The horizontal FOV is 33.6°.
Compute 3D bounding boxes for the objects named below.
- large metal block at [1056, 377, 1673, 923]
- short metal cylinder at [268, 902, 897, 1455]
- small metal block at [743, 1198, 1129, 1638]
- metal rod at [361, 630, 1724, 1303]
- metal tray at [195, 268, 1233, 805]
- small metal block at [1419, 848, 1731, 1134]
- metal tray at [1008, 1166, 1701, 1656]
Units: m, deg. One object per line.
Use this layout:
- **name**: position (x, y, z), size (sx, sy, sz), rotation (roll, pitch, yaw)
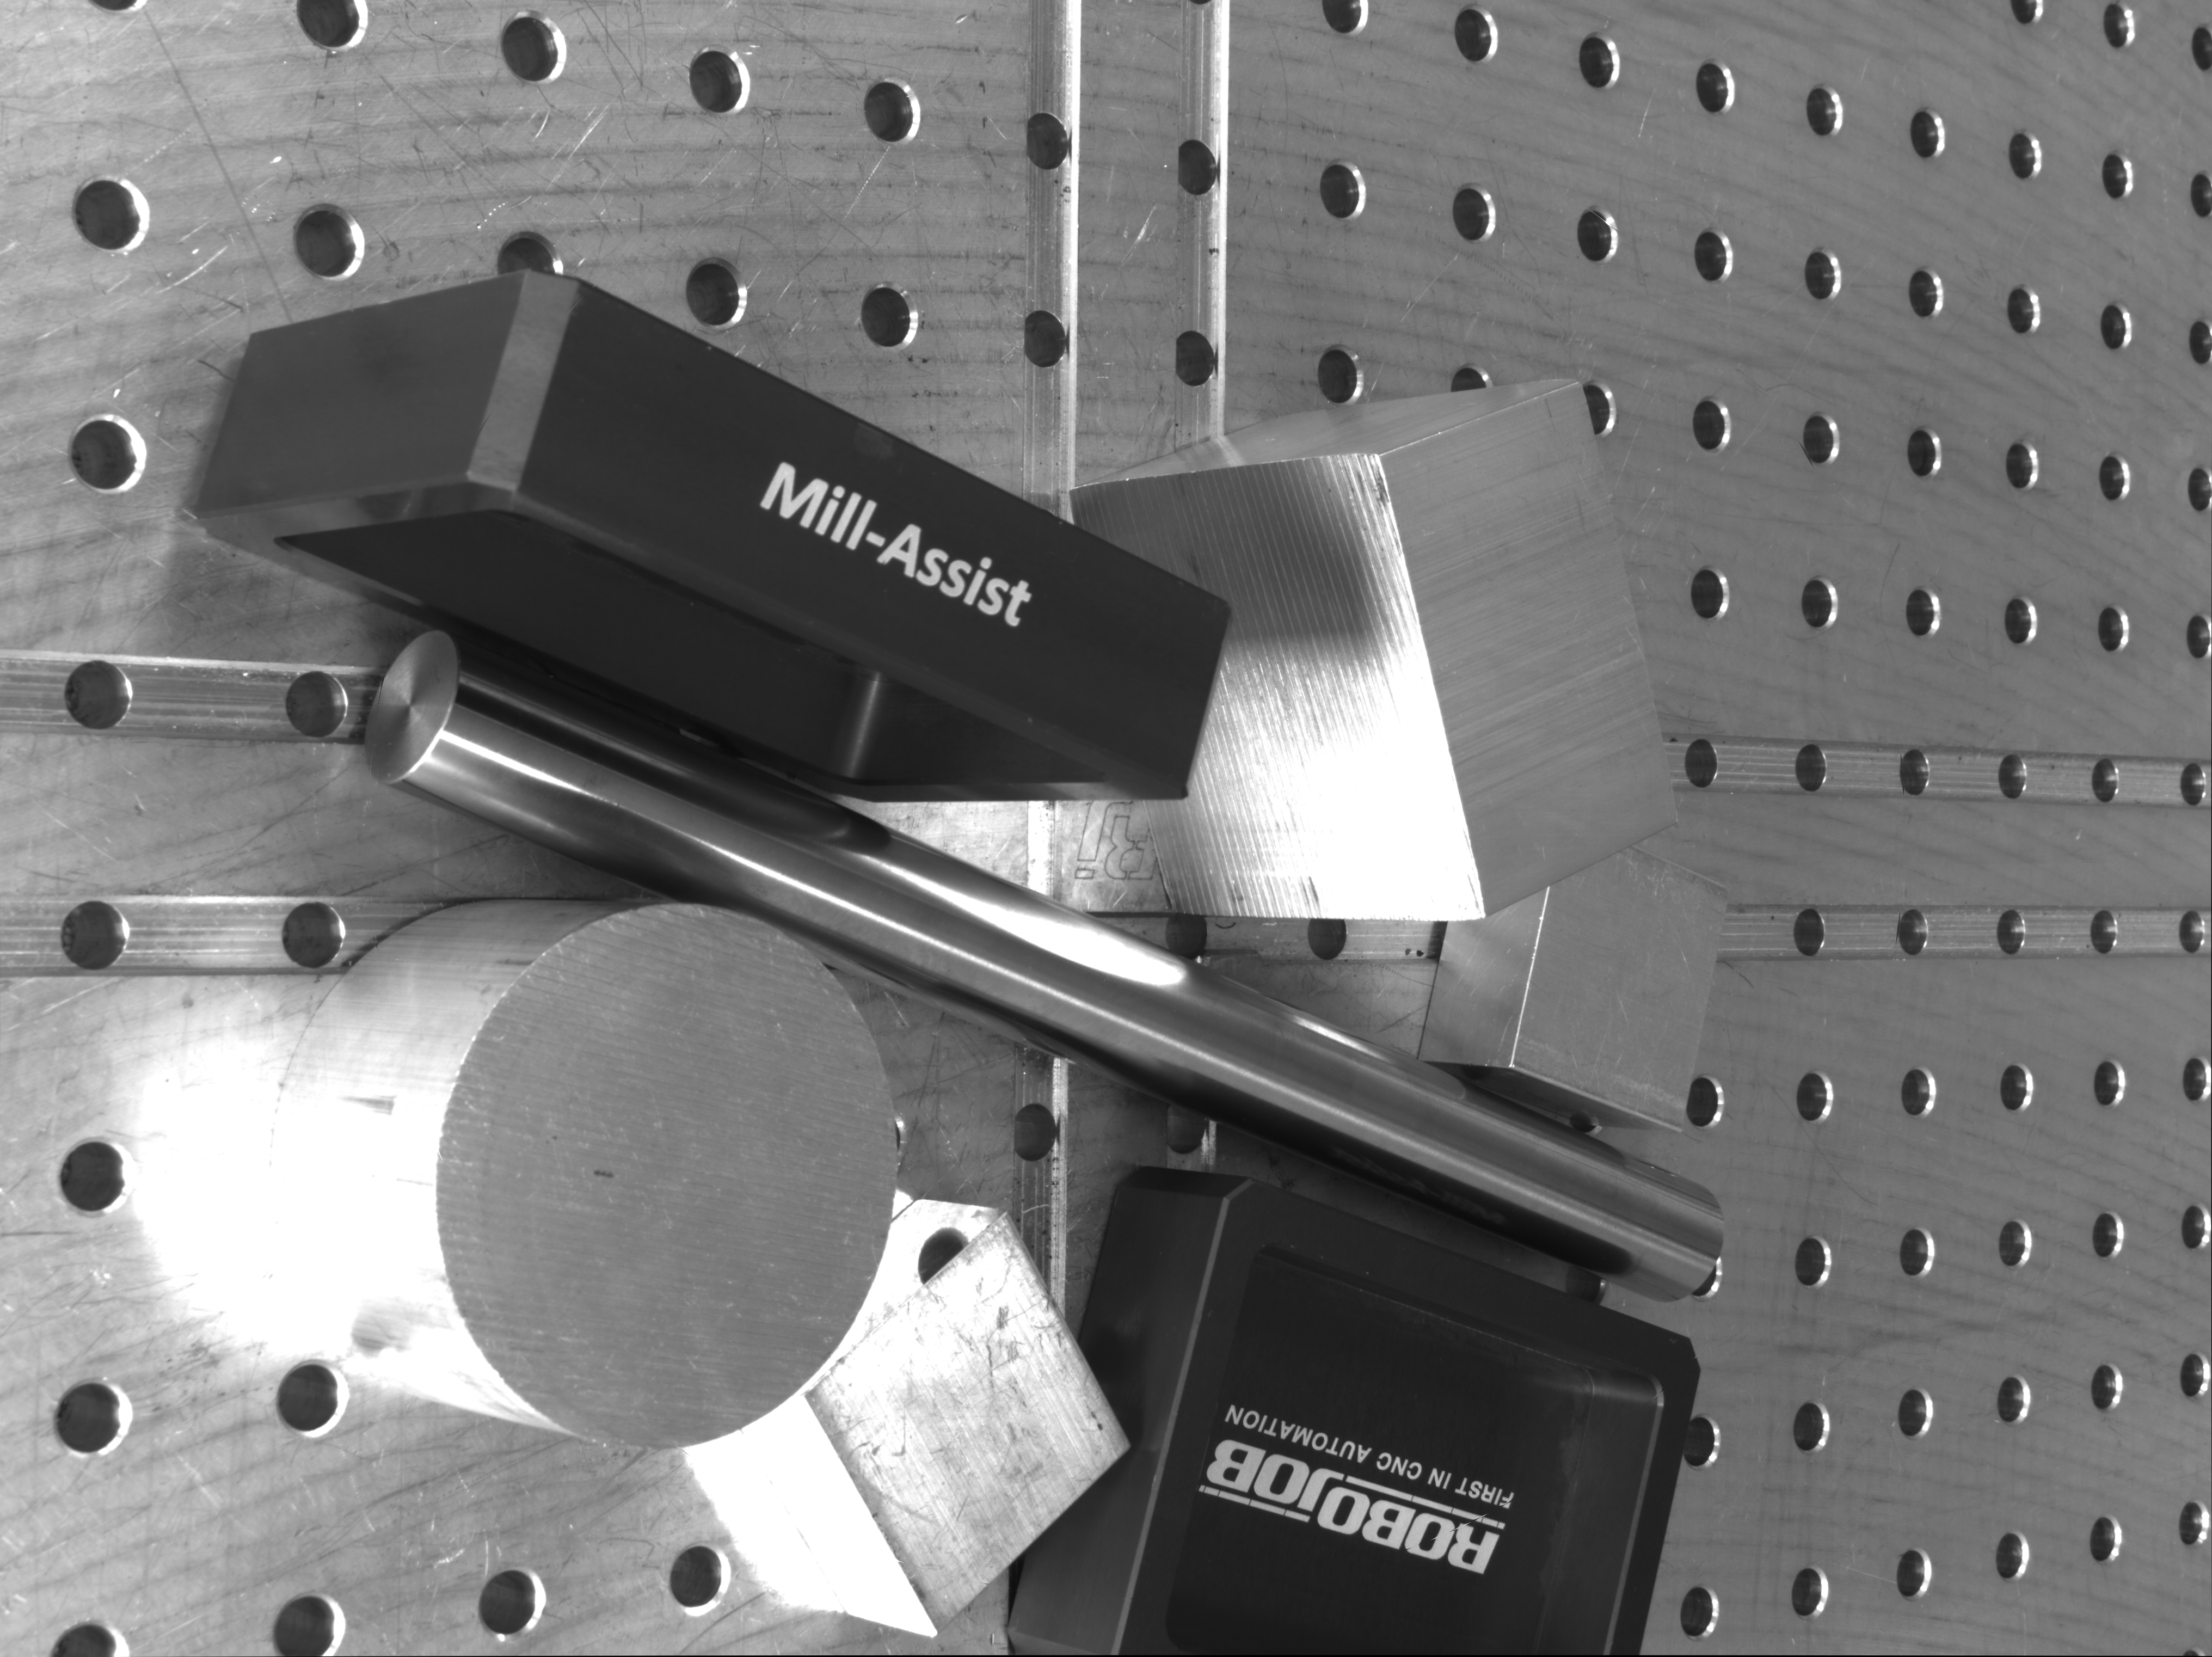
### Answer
- **large metal block**: position (0.045, -0.030, 0.642), size (0.050, 0.080, 0.080), rotation (-23, 105, -37)
- **short metal cylinder**: position (-0.079, 0.052, 0.556), size (0.080, 0.050, 0.080), rotation (0, 90, -40)
- **small metal block**: position (-0.031, 0.098, 0.614), size (0.050, 0.025, 0.050), rotation (-39, 114, -33)
- **metal rod**: position (0.004, 0.032, 0.642), size (0.301, 0.025, 0.025), rotation (25, 74, -37)
- **metal tray**: position (-0.057, -0.039, 0.548), size (0.130, 0.090, 0.030), rotation (24, 75, -37)
- **small metal block**: position (0.091, 0.028, 0.714), size (0.050, 0.025, 0.050), rotation (22, 76, -38)
- **metal tray**: position (0.049, 0.122, 0.675), size (0.130, 0.030, 0.090), rotation (23, 76, -37)
